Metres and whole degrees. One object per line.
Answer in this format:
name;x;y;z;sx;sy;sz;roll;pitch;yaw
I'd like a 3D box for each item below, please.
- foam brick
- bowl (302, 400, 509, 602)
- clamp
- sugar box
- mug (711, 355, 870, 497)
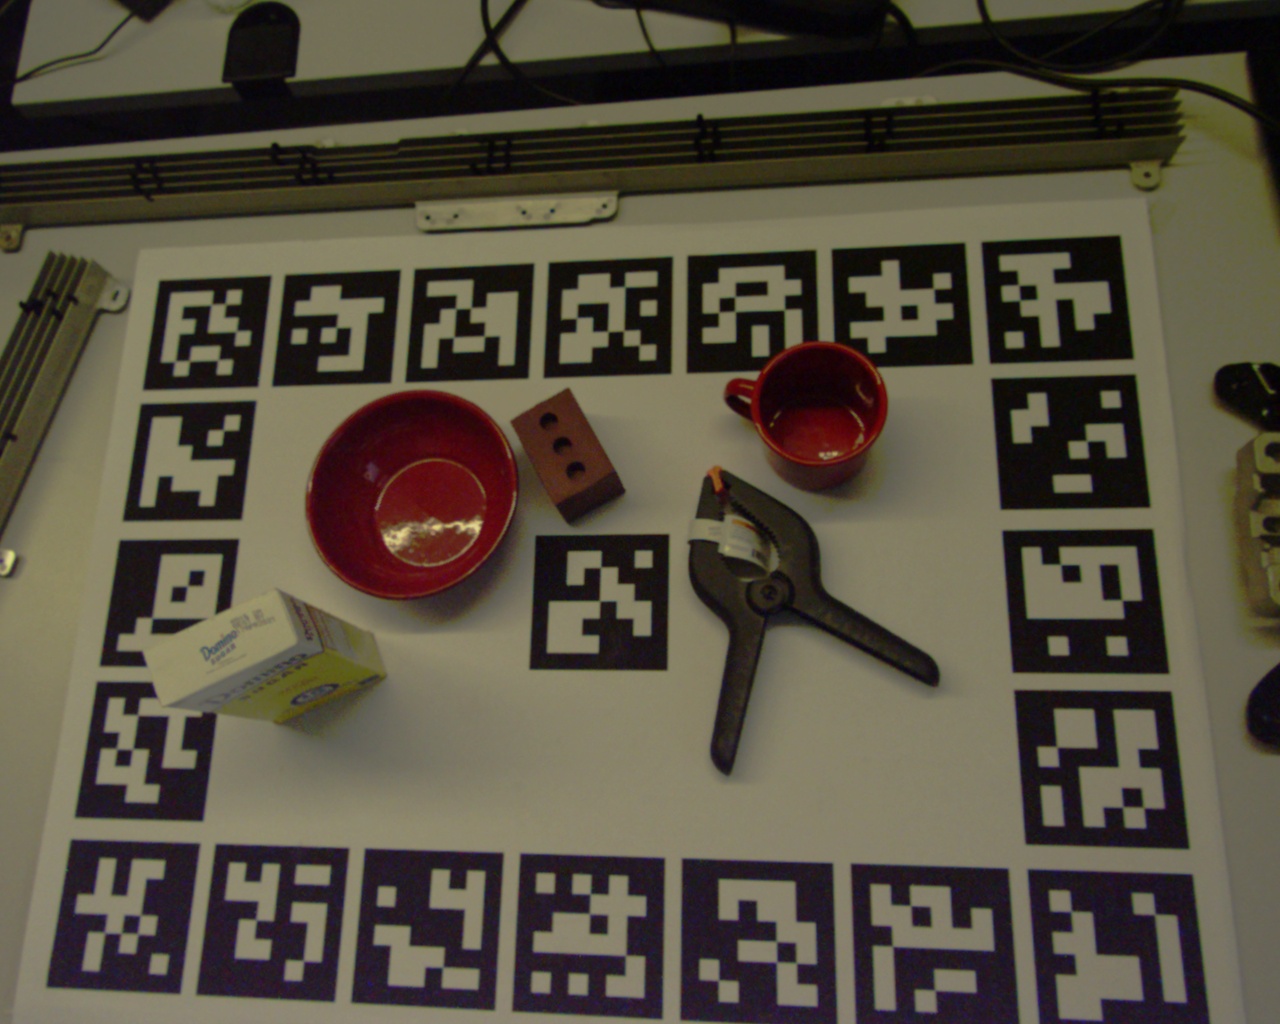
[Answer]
foam brick;-0.059;-0.030;0.884;0.053;0.051;0.078;-28;74;0
bowl;-0.176;-0.003;0.885;0.162;0.055;0.162;-2;75;6
clamp;0.076;0.065;0.834;0.165;0.036;0.204;-24;74;3
sugar box;-0.257;0.112;0.803;0.093;0.175;0.045;-25;76;-1
mug;0.107;-0.064;0.845;0.118;0.081;0.093;25;79;10
